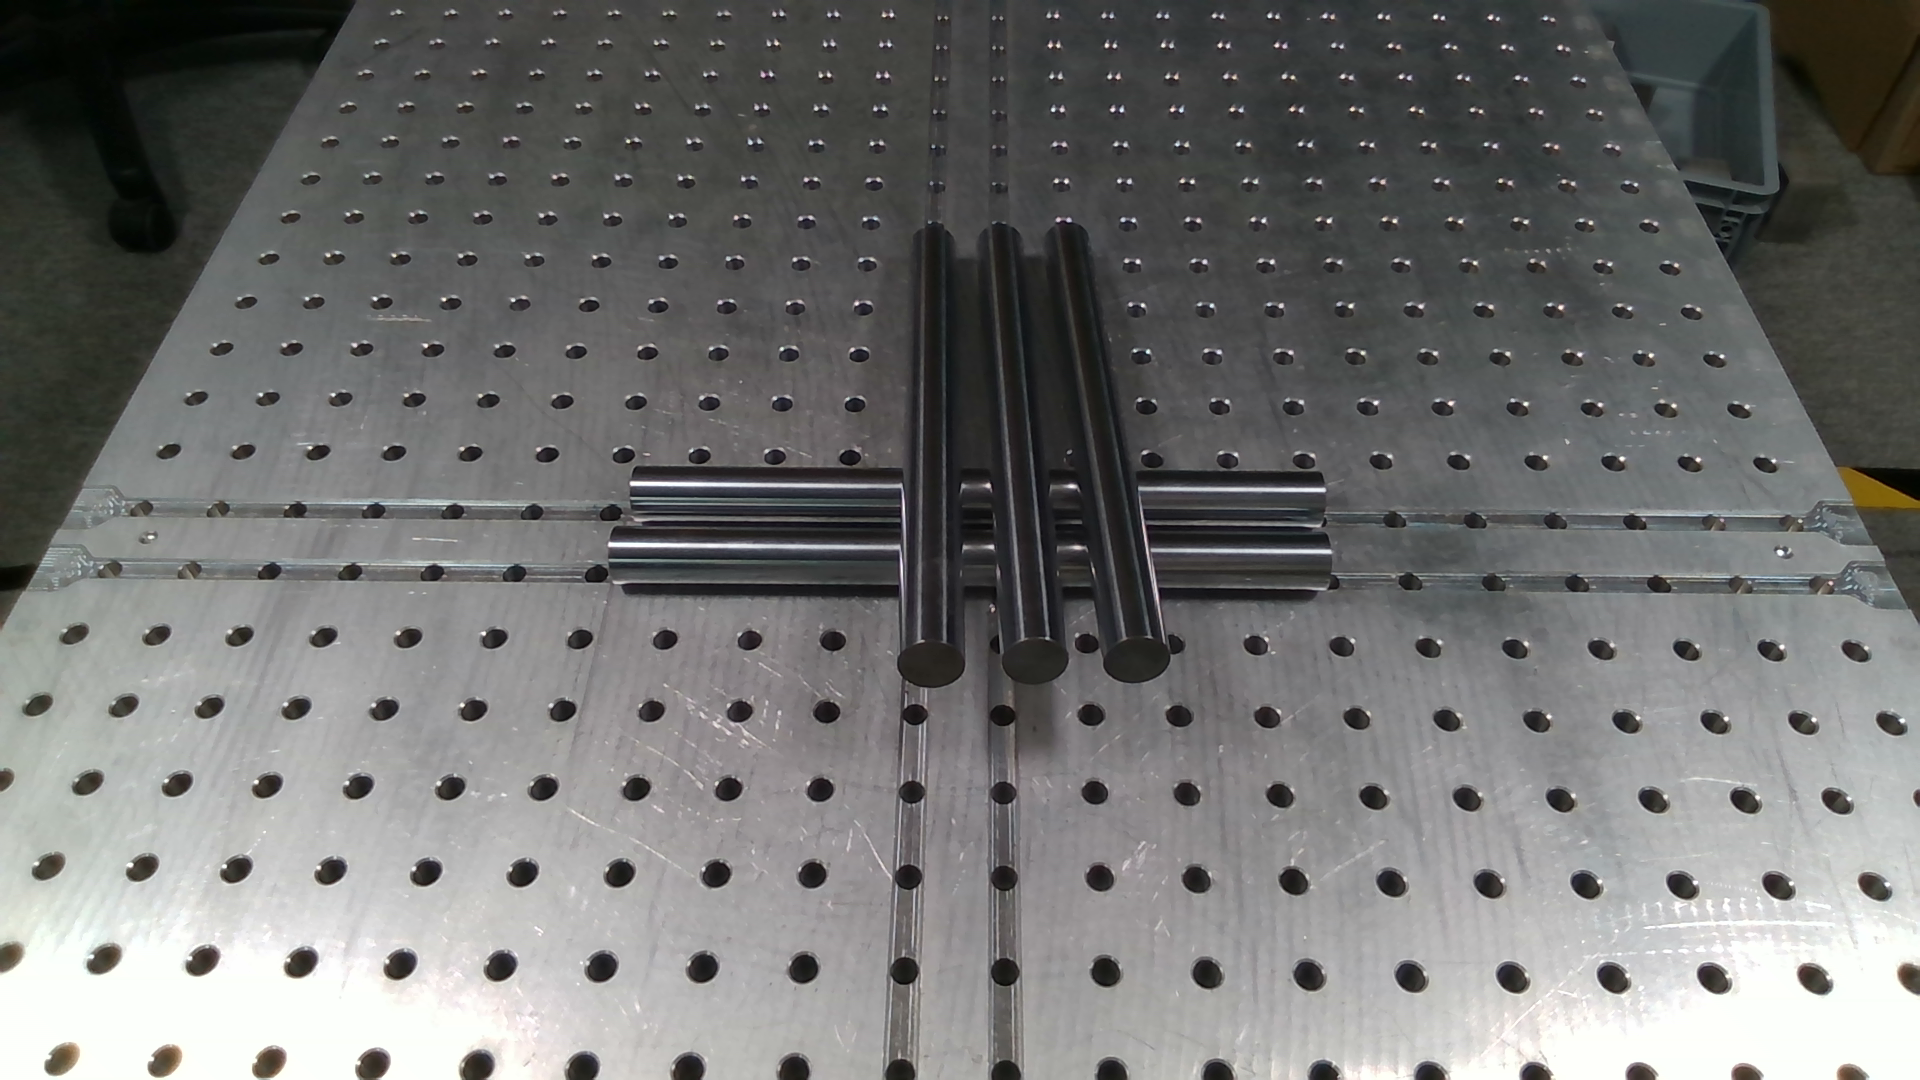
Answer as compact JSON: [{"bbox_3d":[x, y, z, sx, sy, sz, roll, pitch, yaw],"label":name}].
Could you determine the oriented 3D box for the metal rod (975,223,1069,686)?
[{"bbox_3d":[0.024,-0.055,0.609,0.025,0.025,0.299,-1,42,-1],"label":"metal rod"}]

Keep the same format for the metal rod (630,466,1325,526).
[{"bbox_3d":[0.007,-0.019,0.606,0.300,0.025,0.025,1,50,1],"label":"metal rod"}]

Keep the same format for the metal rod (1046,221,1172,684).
[{"bbox_3d":[0.060,-0.056,0.610,0.025,0.025,0.299,-1,42,-1],"label":"metal rod"}]

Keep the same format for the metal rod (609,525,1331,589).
[{"bbox_3d":[0.004,0.007,0.584,0.300,0.025,0.025,1,50,1],"label":"metal rod"}]

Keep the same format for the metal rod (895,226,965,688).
[{"bbox_3d":[-0.013,-0.054,0.608,0.025,0.025,0.299,-1,41,0],"label":"metal rod"}]
